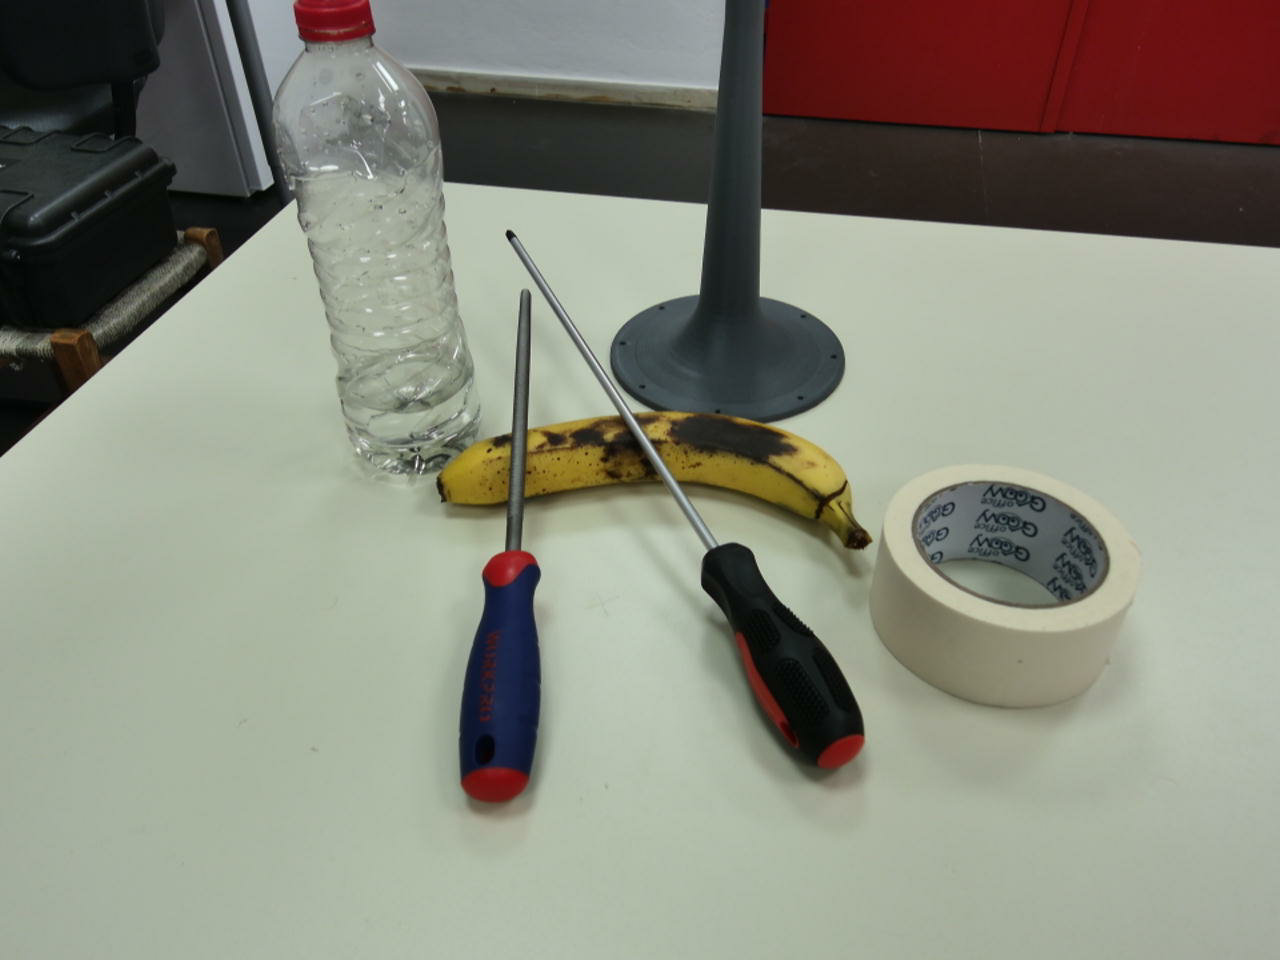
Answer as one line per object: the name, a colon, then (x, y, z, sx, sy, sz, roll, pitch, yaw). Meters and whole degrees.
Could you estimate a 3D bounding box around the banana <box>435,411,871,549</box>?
banana: (0.010, -0.007, 0.525, 0.222, 0.037, 0.084, 8, 40, 10)
